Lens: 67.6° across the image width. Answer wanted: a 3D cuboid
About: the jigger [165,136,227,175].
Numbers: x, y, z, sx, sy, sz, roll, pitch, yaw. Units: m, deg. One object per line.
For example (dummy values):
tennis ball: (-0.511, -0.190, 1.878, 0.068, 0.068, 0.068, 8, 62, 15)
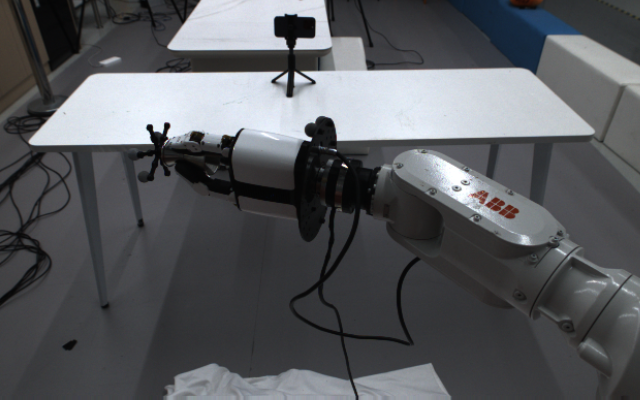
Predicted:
jigger: (-0.172, -0.065, 0.663, 0.071, 0.043, 0.043, 9, 35, 16)
